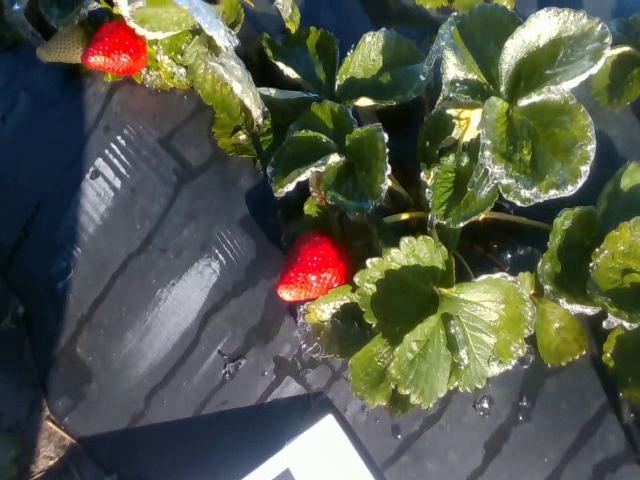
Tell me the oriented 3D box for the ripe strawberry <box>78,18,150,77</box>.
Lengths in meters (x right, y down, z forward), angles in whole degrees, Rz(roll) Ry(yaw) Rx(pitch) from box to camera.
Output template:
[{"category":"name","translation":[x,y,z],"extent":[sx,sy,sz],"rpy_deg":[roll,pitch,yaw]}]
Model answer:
[{"category":"ripe strawberry","translation":[-0.135,-0.120,0.395],"extent":[0.037,0.040,0.051],"rpy_deg":[38,33,16]}]

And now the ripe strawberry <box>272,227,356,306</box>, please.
[{"category":"ripe strawberry","translation":[-0.008,0.018,0.337],"extent":[0.052,0.042,0.047],"rpy_deg":[-27,-24,-43]}]
